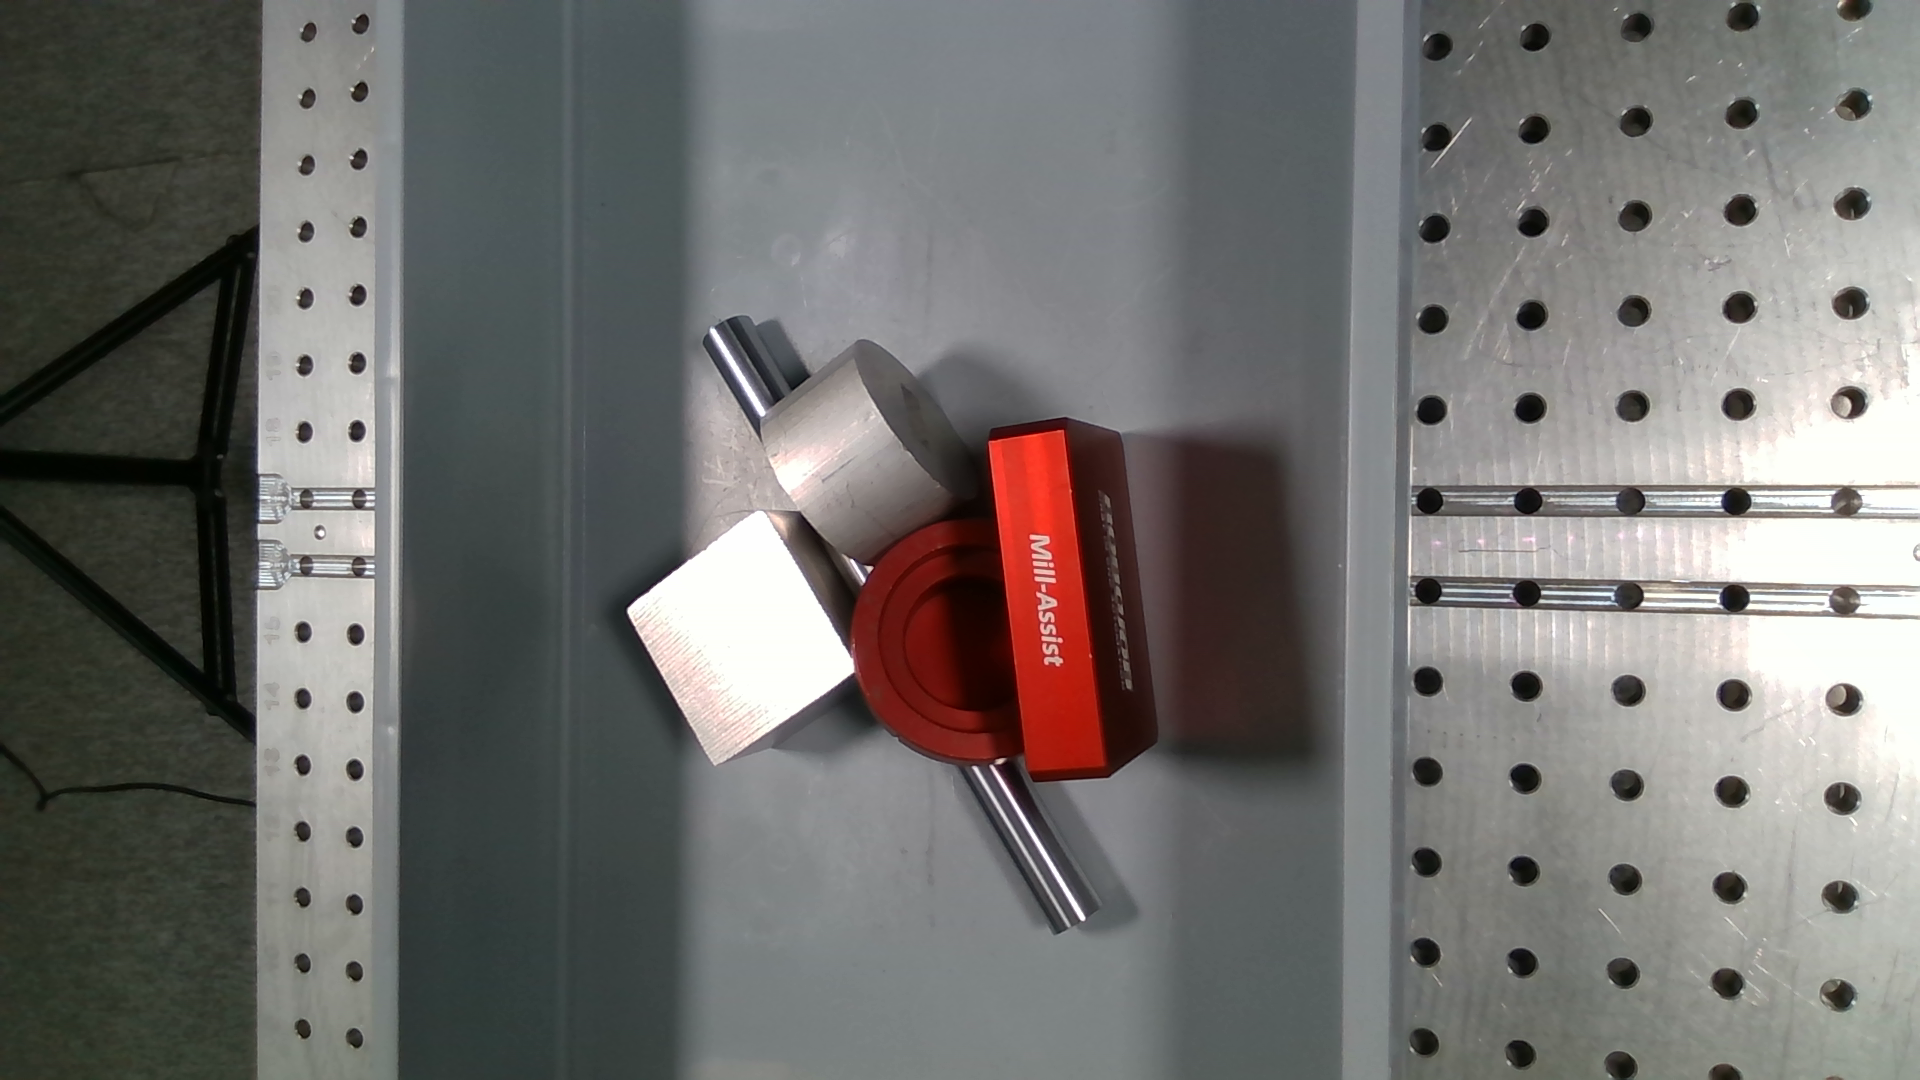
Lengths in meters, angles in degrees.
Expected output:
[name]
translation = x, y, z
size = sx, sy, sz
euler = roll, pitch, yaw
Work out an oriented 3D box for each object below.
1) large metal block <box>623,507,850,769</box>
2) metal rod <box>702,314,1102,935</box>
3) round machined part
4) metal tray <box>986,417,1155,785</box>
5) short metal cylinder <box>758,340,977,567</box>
[large metal block]
translation = -0.085, 0.041, 0.602
size = 0.080, 0.050, 0.080
euler = -35, 79, 17
[metal rod]
translation = -0.029, 0.031, 0.595
size = 0.025, 0.025, 0.300
euler = -35, 79, 17
[round machined part]
translation = 0.004, 0.044, 0.560
size = 0.098, 0.042, 0.098
euler = 1, 76, -4
[metal tray]
translation = 0.045, 0.022, 0.532
size = 0.030, 0.090, 0.130
euler = -7, 88, 20
[short metal cylinder]
translation = -0.038, -0.035, 0.569
size = 0.050, 0.080, 0.080
euler = -35, 79, 17
